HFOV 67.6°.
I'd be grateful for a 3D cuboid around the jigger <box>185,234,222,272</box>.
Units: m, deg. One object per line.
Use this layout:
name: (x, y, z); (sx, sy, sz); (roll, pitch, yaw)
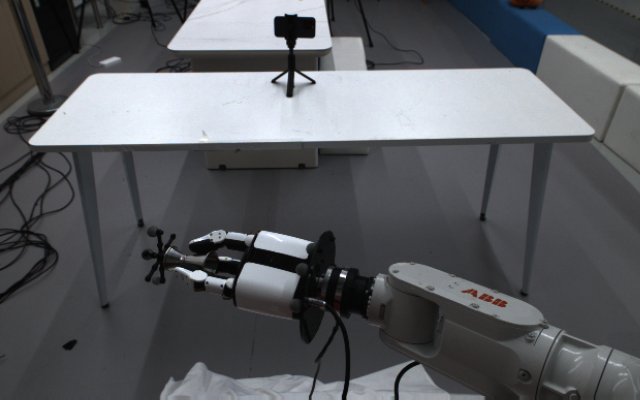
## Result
jigger: (-0.187, 0.091, 0.726); (0.071, 0.043, 0.043); (6, 35, 14)
